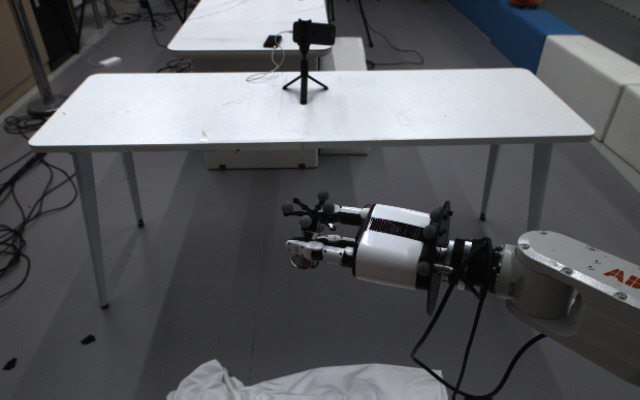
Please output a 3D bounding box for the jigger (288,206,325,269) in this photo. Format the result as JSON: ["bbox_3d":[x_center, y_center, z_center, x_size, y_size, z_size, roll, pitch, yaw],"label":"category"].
[{"bbox_3d":[-0.018,0.063,0.716,0.043,0.071,0.043,9,30,-5],"label":"jigger"}]
